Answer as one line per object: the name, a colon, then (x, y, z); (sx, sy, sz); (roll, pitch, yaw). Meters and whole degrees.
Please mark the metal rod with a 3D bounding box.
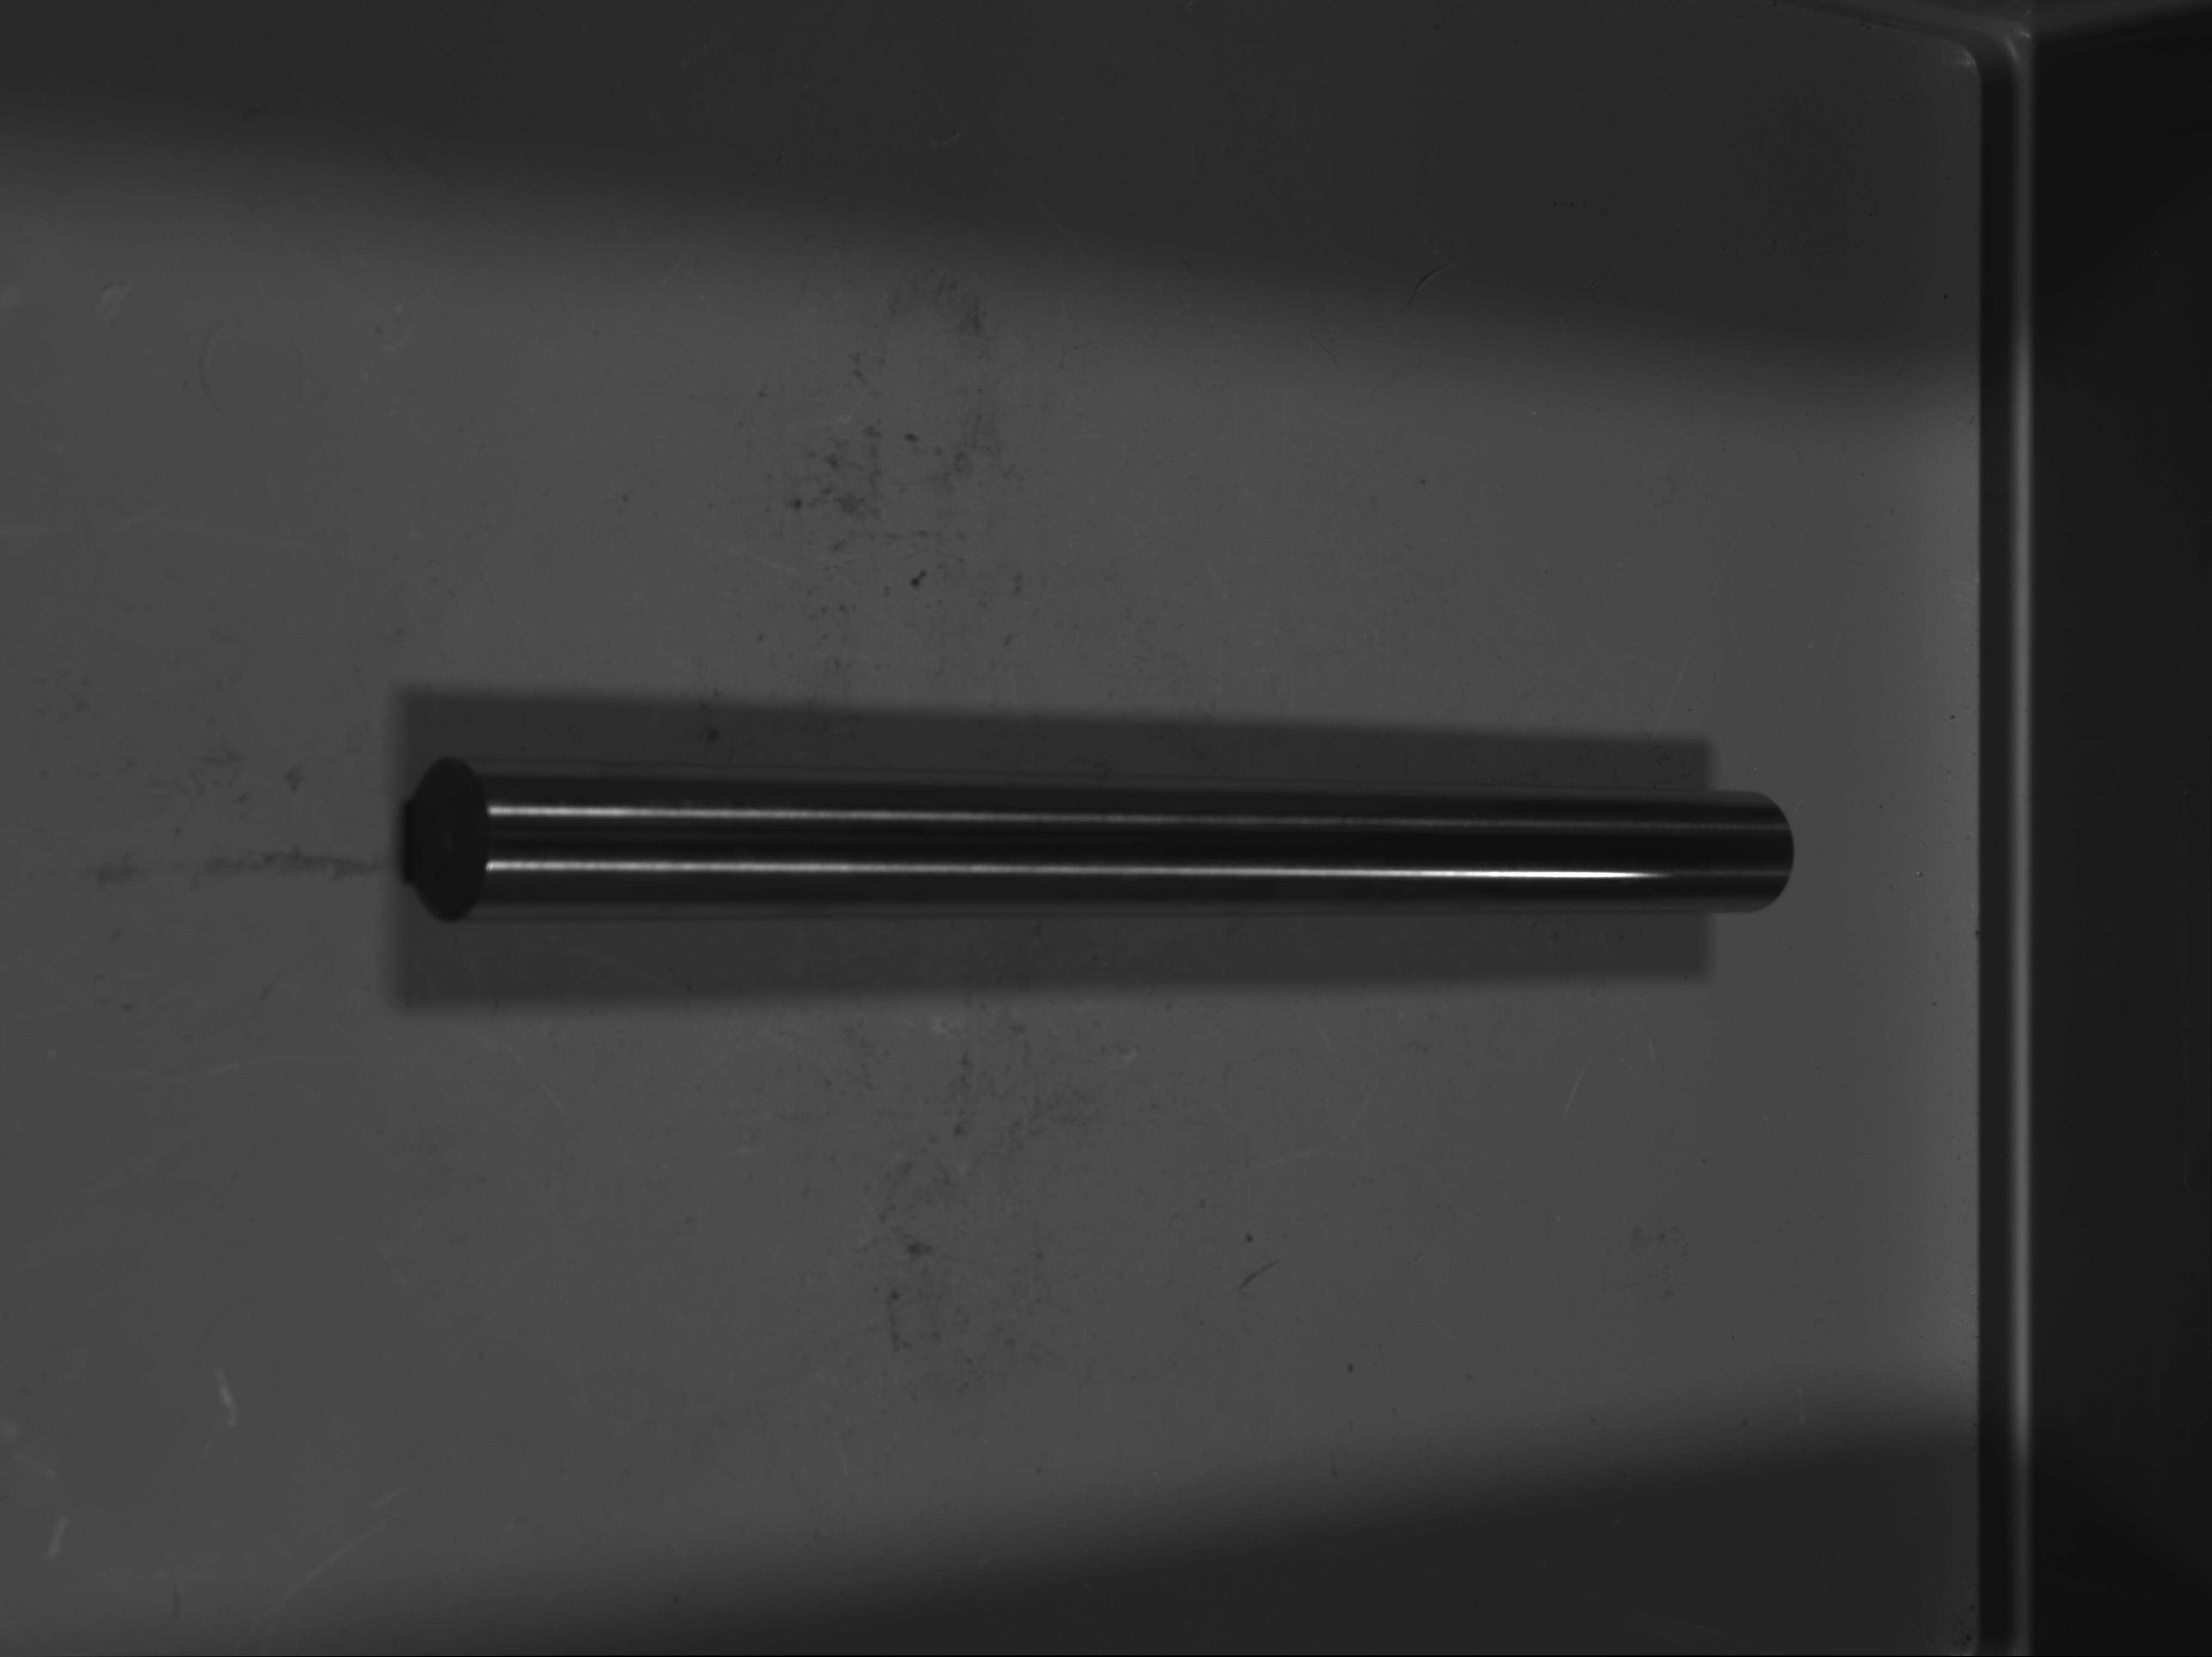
metal rod: (0.018, 0.003, 0.650); (0.301, 0.025, 0.025); (1, 89, -40)
